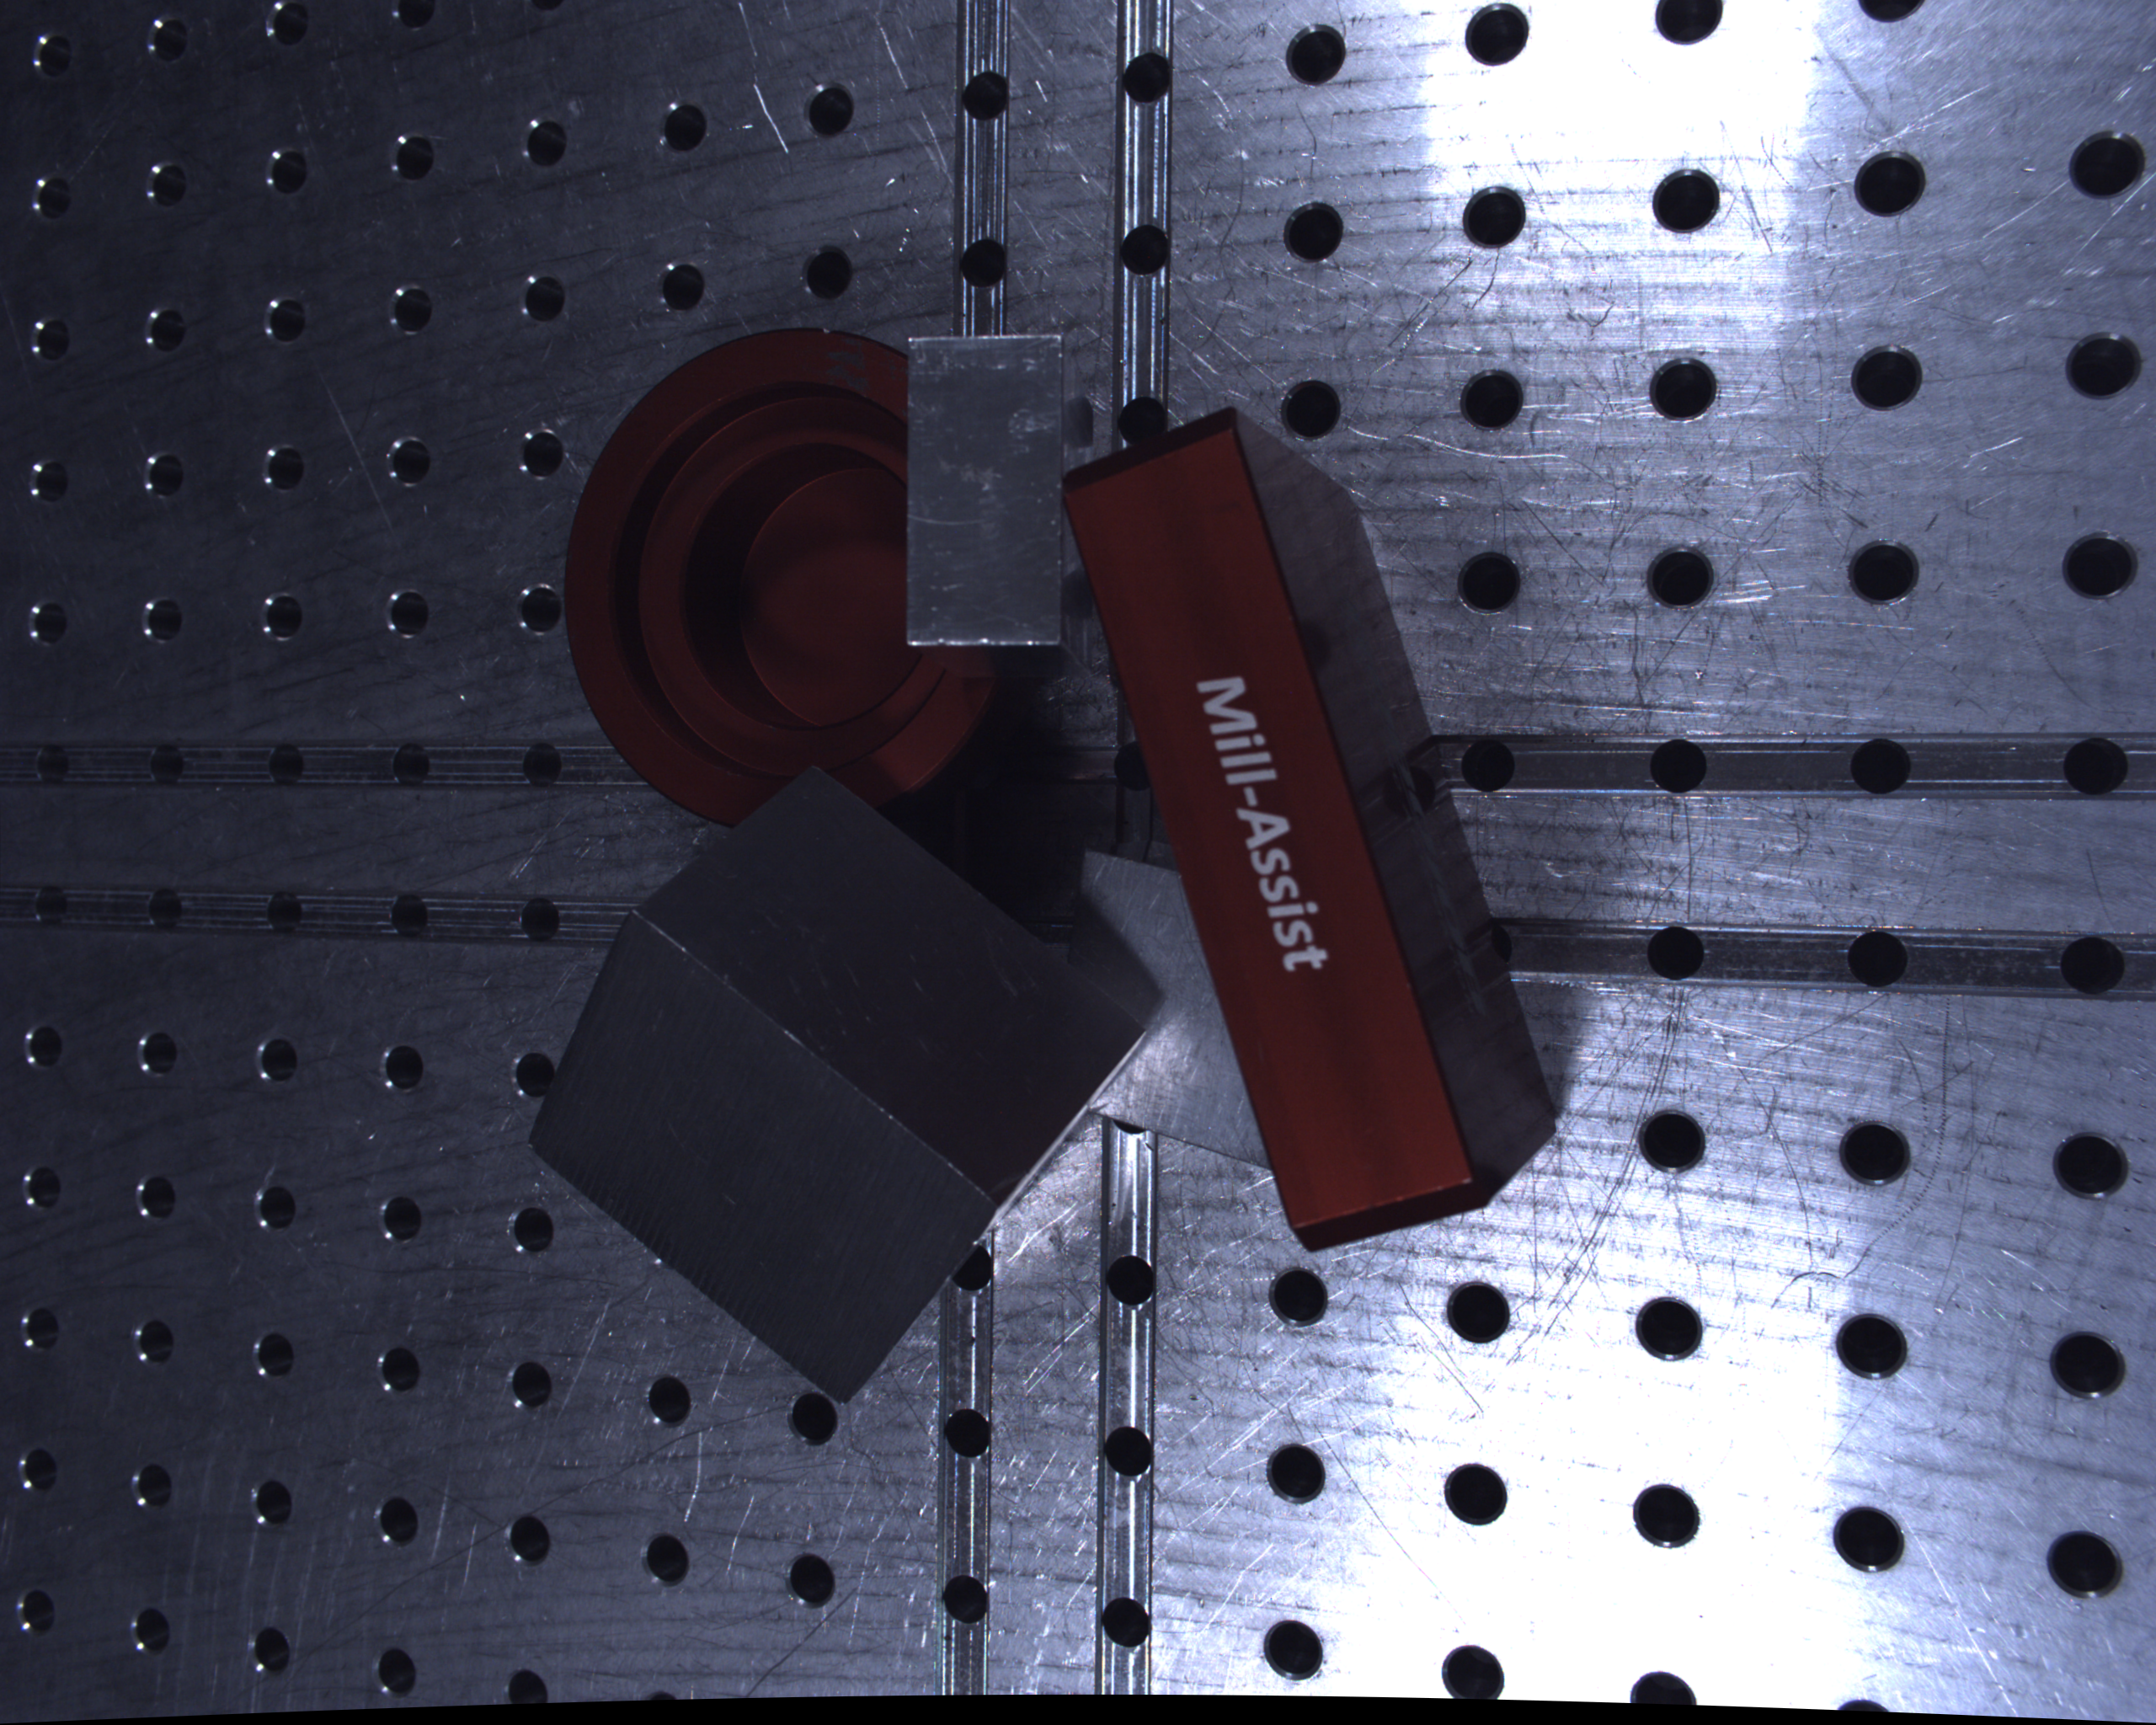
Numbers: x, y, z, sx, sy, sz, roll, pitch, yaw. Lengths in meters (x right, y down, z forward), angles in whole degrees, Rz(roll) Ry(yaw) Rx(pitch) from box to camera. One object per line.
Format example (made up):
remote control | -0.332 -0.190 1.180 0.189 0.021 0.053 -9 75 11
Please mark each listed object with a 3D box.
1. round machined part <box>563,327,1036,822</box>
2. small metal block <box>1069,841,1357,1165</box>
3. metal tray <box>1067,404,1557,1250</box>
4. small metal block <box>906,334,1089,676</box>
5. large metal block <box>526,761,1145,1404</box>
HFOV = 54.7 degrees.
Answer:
round machined part | -0.050 -0.054 0.420 0.098 0.042 0.097 0 90 19
small metal block | 0.026 0.026 0.397 0.050 0.025 0.050 14 99 30
metal tray | 0.044 -0.006 0.362 0.030 0.090 0.129 -19 84 19
small metal block | -0.012 -0.059 0.359 0.025 0.050 0.050 0 89 6
large metal block | -0.047 0.042 0.391 0.080 0.050 0.080 38 134 4
